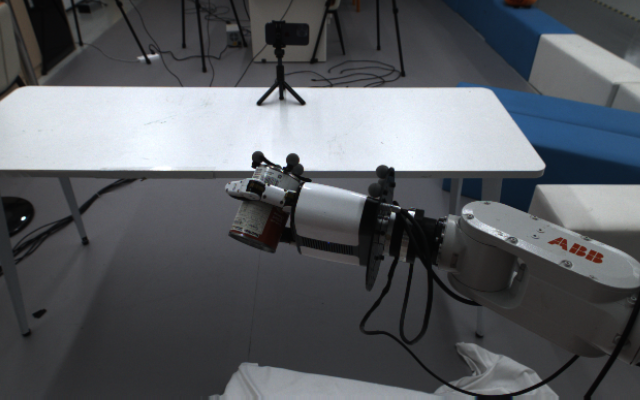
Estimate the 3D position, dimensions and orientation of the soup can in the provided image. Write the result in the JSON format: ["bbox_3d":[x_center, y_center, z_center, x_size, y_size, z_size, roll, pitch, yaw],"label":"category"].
[{"bbox_3d":[-0.072,0.012,0.648,0.067,0.067,0.101,16,75,19],"label":"soup can"}]
